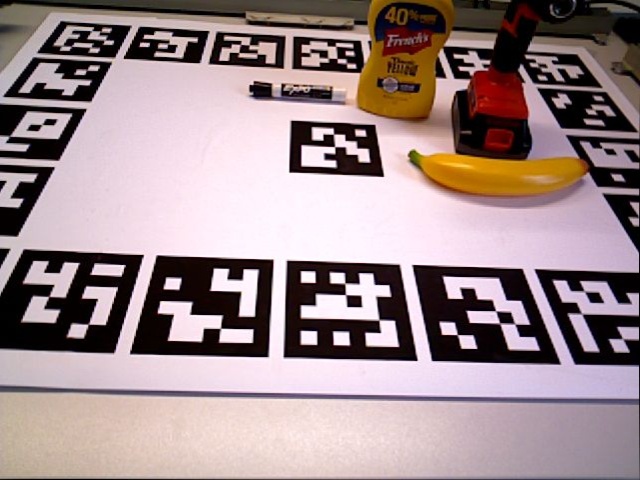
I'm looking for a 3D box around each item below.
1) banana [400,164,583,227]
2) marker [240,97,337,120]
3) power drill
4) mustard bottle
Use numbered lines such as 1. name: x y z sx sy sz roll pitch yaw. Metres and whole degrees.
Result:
1. banana: 0.184 -0.045 0.580 0.197 0.040 0.073 7 48 4
2. marker: -0.040 -0.166 0.684 0.120 0.020 0.019 4 47 -2
3. power drill: 0.201 -0.175 0.570 0.057 0.191 0.180 14 44 4
4. mustard bottle: 0.093 -0.214 0.621 0.096 0.196 0.057 12 46 3
